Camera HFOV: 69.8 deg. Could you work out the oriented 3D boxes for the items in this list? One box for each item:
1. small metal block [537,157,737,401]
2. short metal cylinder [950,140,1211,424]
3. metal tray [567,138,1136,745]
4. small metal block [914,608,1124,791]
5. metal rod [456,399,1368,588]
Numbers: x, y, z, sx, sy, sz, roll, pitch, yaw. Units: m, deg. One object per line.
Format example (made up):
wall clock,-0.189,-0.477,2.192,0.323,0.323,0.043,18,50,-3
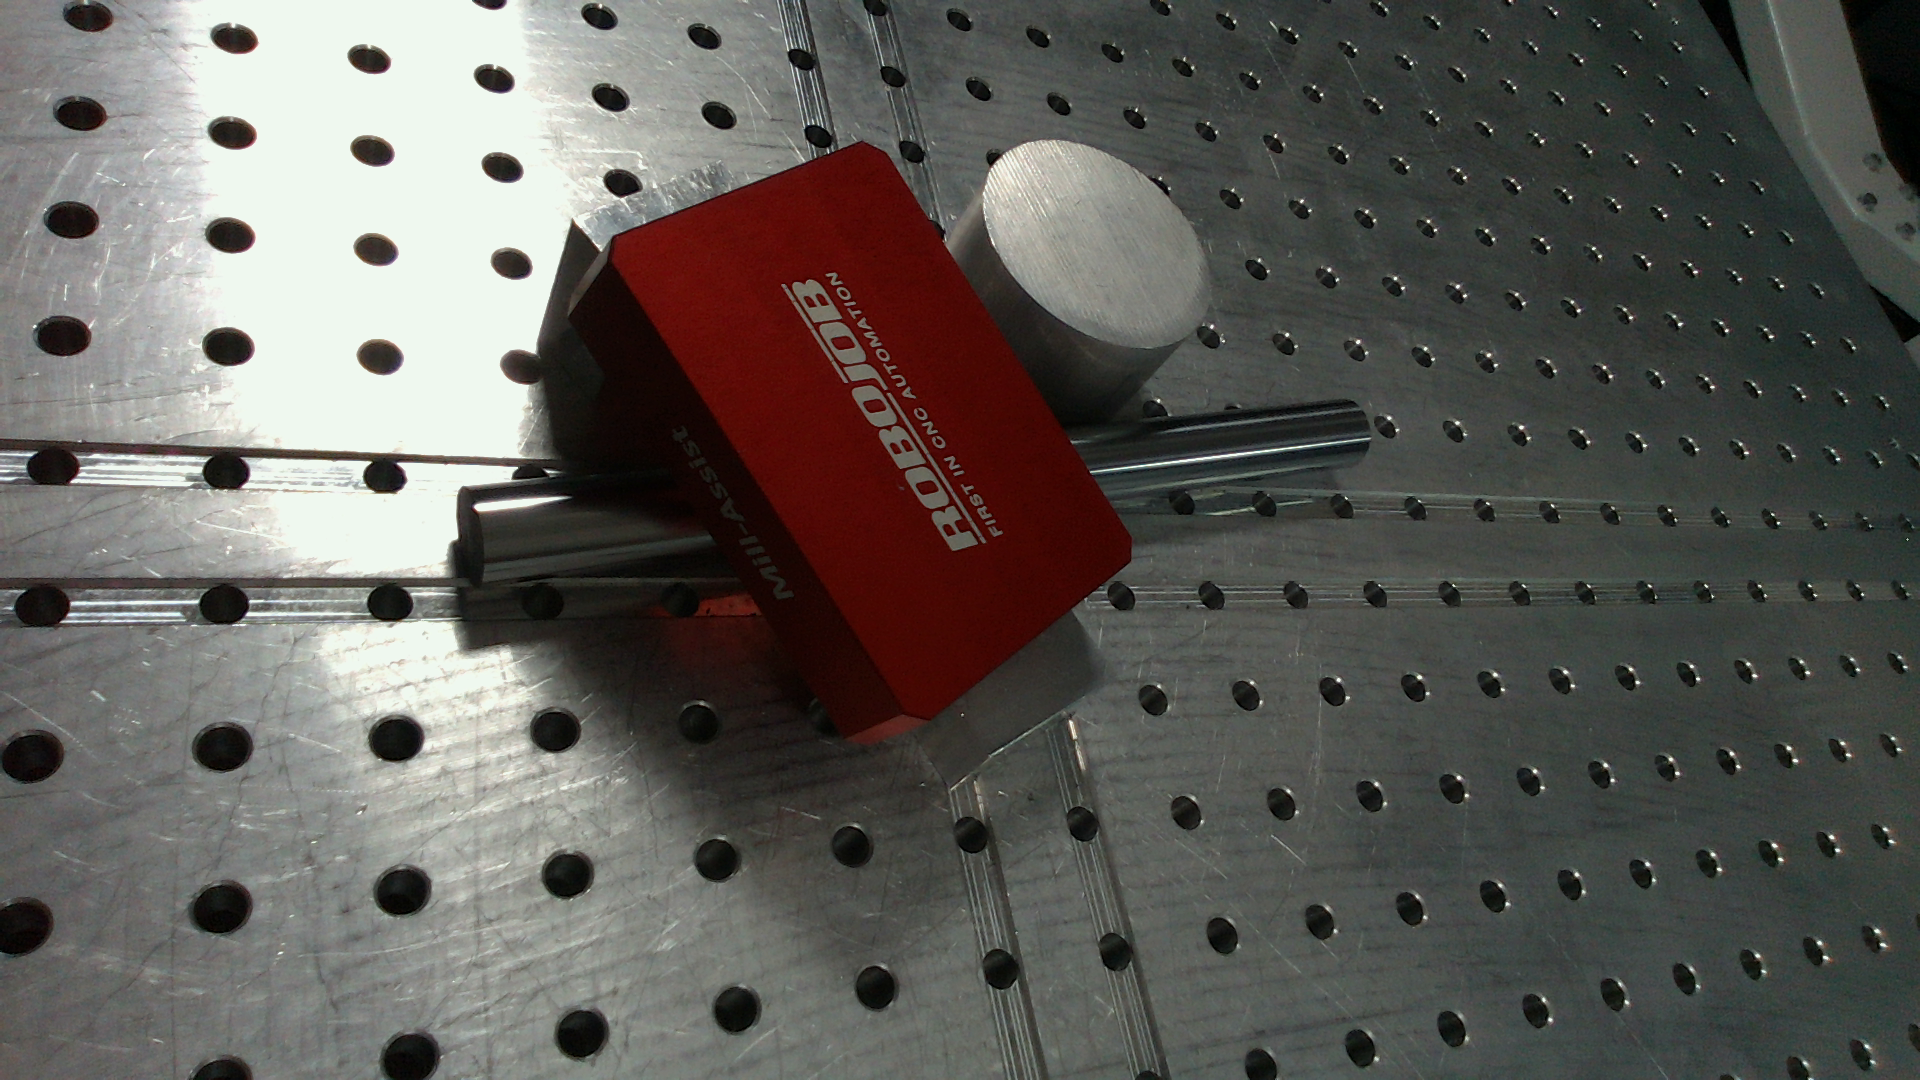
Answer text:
small metal block,-0.083,-0.071,0.375,0.025,0.050,0.050,49,51,6
short metal cylinder,0.033,-0.081,0.443,0.080,0.050,0.080,14,56,-21
metal tray,-0.023,-0.027,0.344,0.090,0.030,0.130,-35,92,-38
small metal block,0.008,0.032,0.376,0.050,0.025,0.050,-26,76,-37
metal rod,0.009,-0.019,0.409,0.301,0.025,0.025,-8,66,-32
